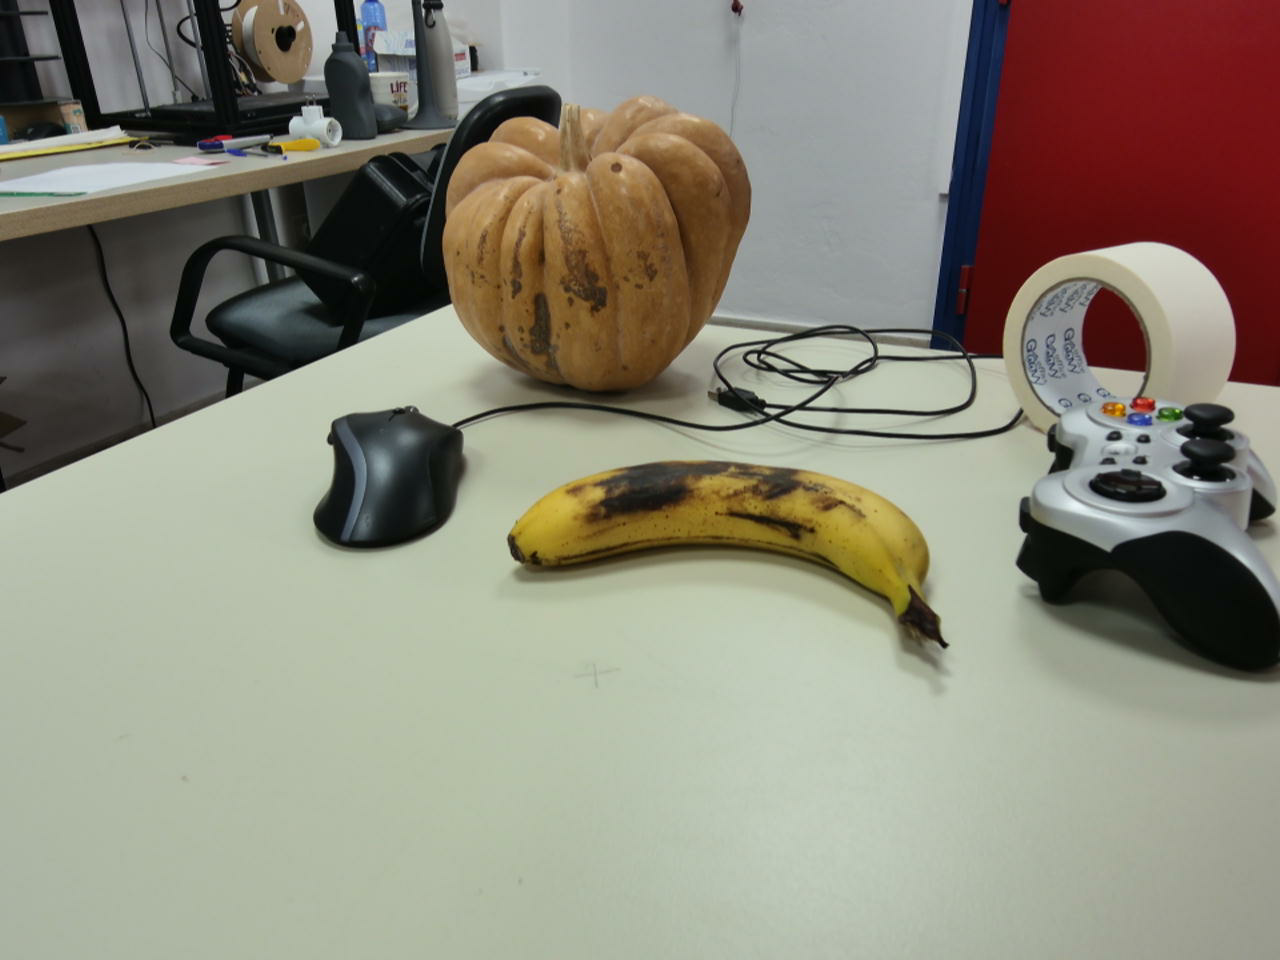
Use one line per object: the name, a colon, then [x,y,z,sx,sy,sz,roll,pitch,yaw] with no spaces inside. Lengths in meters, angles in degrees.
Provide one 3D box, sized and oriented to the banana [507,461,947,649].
banana: [0.043,0.022,0.435,0.187,0.039,0.094,10,25,22]
